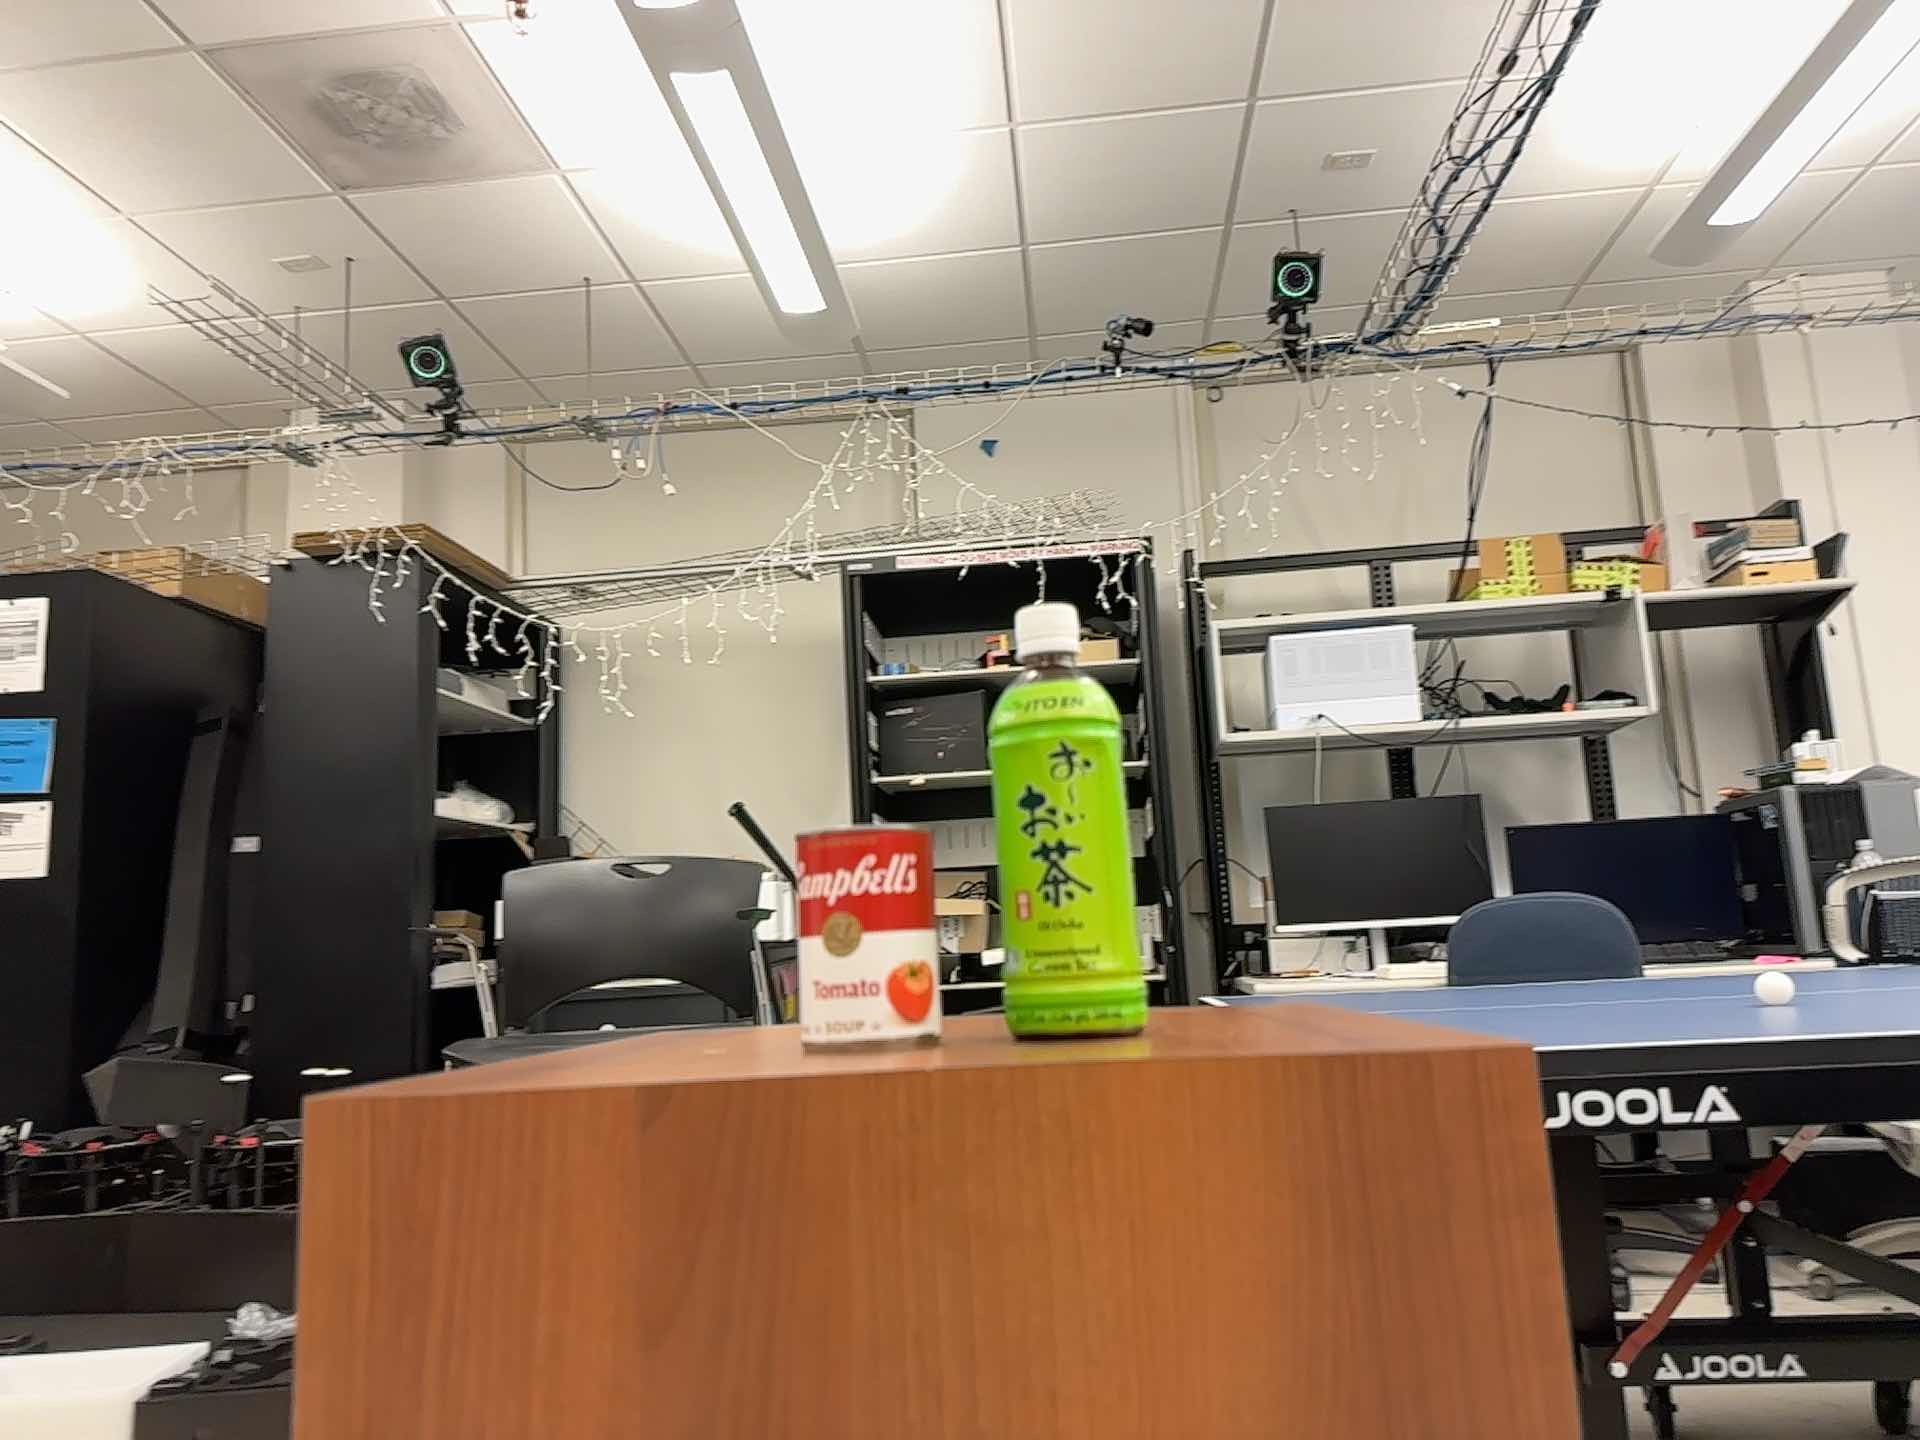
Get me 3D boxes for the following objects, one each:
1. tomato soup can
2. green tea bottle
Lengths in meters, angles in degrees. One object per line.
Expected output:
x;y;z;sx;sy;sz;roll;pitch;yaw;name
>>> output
-0.045;0.101;0.638;0.067;0.102;0.067;-3;-10;-1;tomato soup can
0.050;0.047;0.652;0.073;0.212;0.073;-5;-10;-1;green tea bottle
